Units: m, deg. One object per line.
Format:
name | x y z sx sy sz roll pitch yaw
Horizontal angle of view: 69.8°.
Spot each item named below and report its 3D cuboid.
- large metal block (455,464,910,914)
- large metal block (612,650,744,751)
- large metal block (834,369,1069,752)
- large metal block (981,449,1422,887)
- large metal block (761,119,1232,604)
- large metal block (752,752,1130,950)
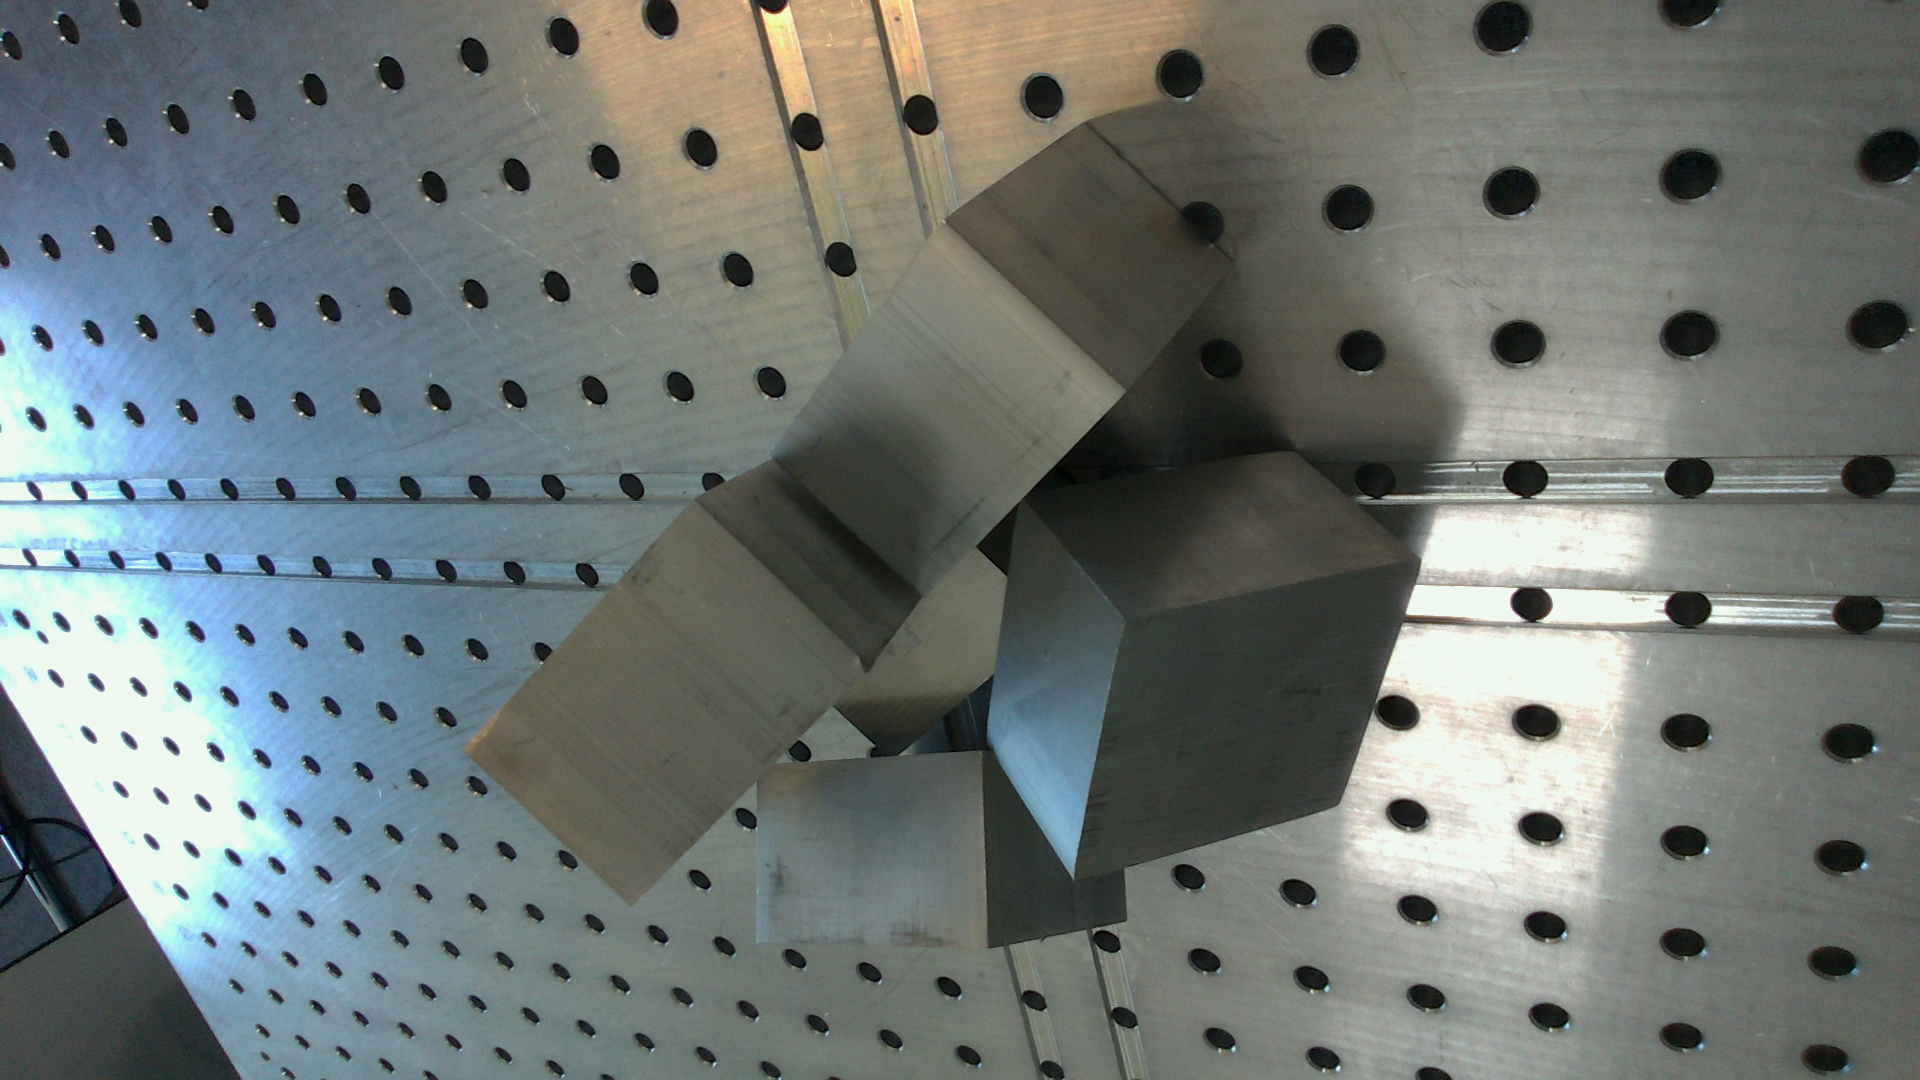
large metal block | -0.058 0.029 0.328 0.050 0.080 0.080 44 104 -2
large metal block | -0.081 0.041 0.428 0.050 0.080 0.080 43 129 -2
large metal block | -0.016 0.003 0.392 0.080 0.050 0.080 43 129 -1
large metal block | 0.056 0.030 0.340 0.050 0.080 0.080 -127 34 -47
large metal block | 0.010 -0.044 0.328 0.050 0.080 0.080 43 129 -2
large metal block | -0.005 0.091 0.410 0.080 0.080 0.050 -9 77 32
